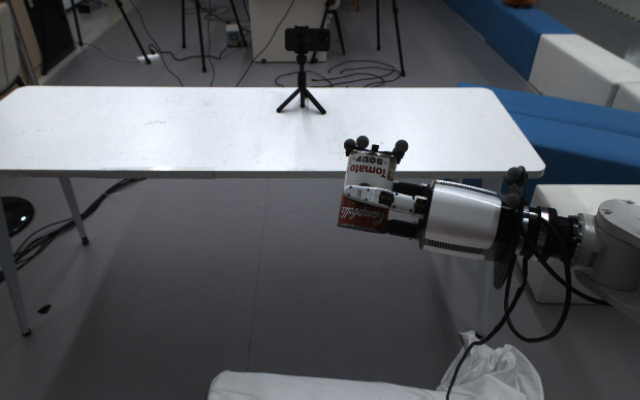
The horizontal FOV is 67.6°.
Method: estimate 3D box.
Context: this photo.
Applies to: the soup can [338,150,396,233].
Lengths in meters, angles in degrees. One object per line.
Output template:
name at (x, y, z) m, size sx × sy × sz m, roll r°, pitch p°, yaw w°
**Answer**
soup can at (0.065, -0.011, 0.655) m, size 0.067 × 0.101 × 0.067 m, roll 9°, pitch -5°, yaw 1°
